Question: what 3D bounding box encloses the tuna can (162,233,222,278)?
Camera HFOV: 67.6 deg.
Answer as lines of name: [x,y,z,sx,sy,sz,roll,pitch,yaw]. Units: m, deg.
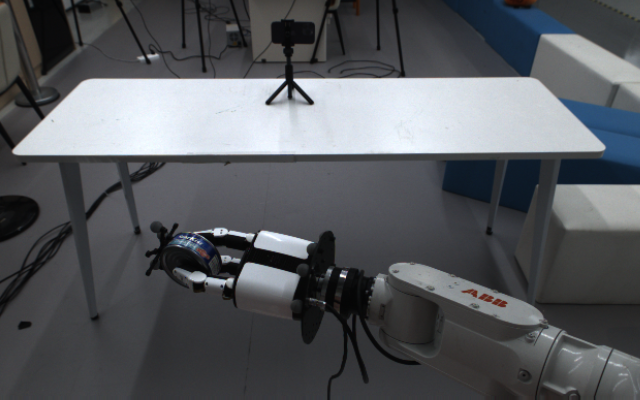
tuna can: [-0.189,0.088,0.717,0.085,0.085,0.034,10,37,11]
